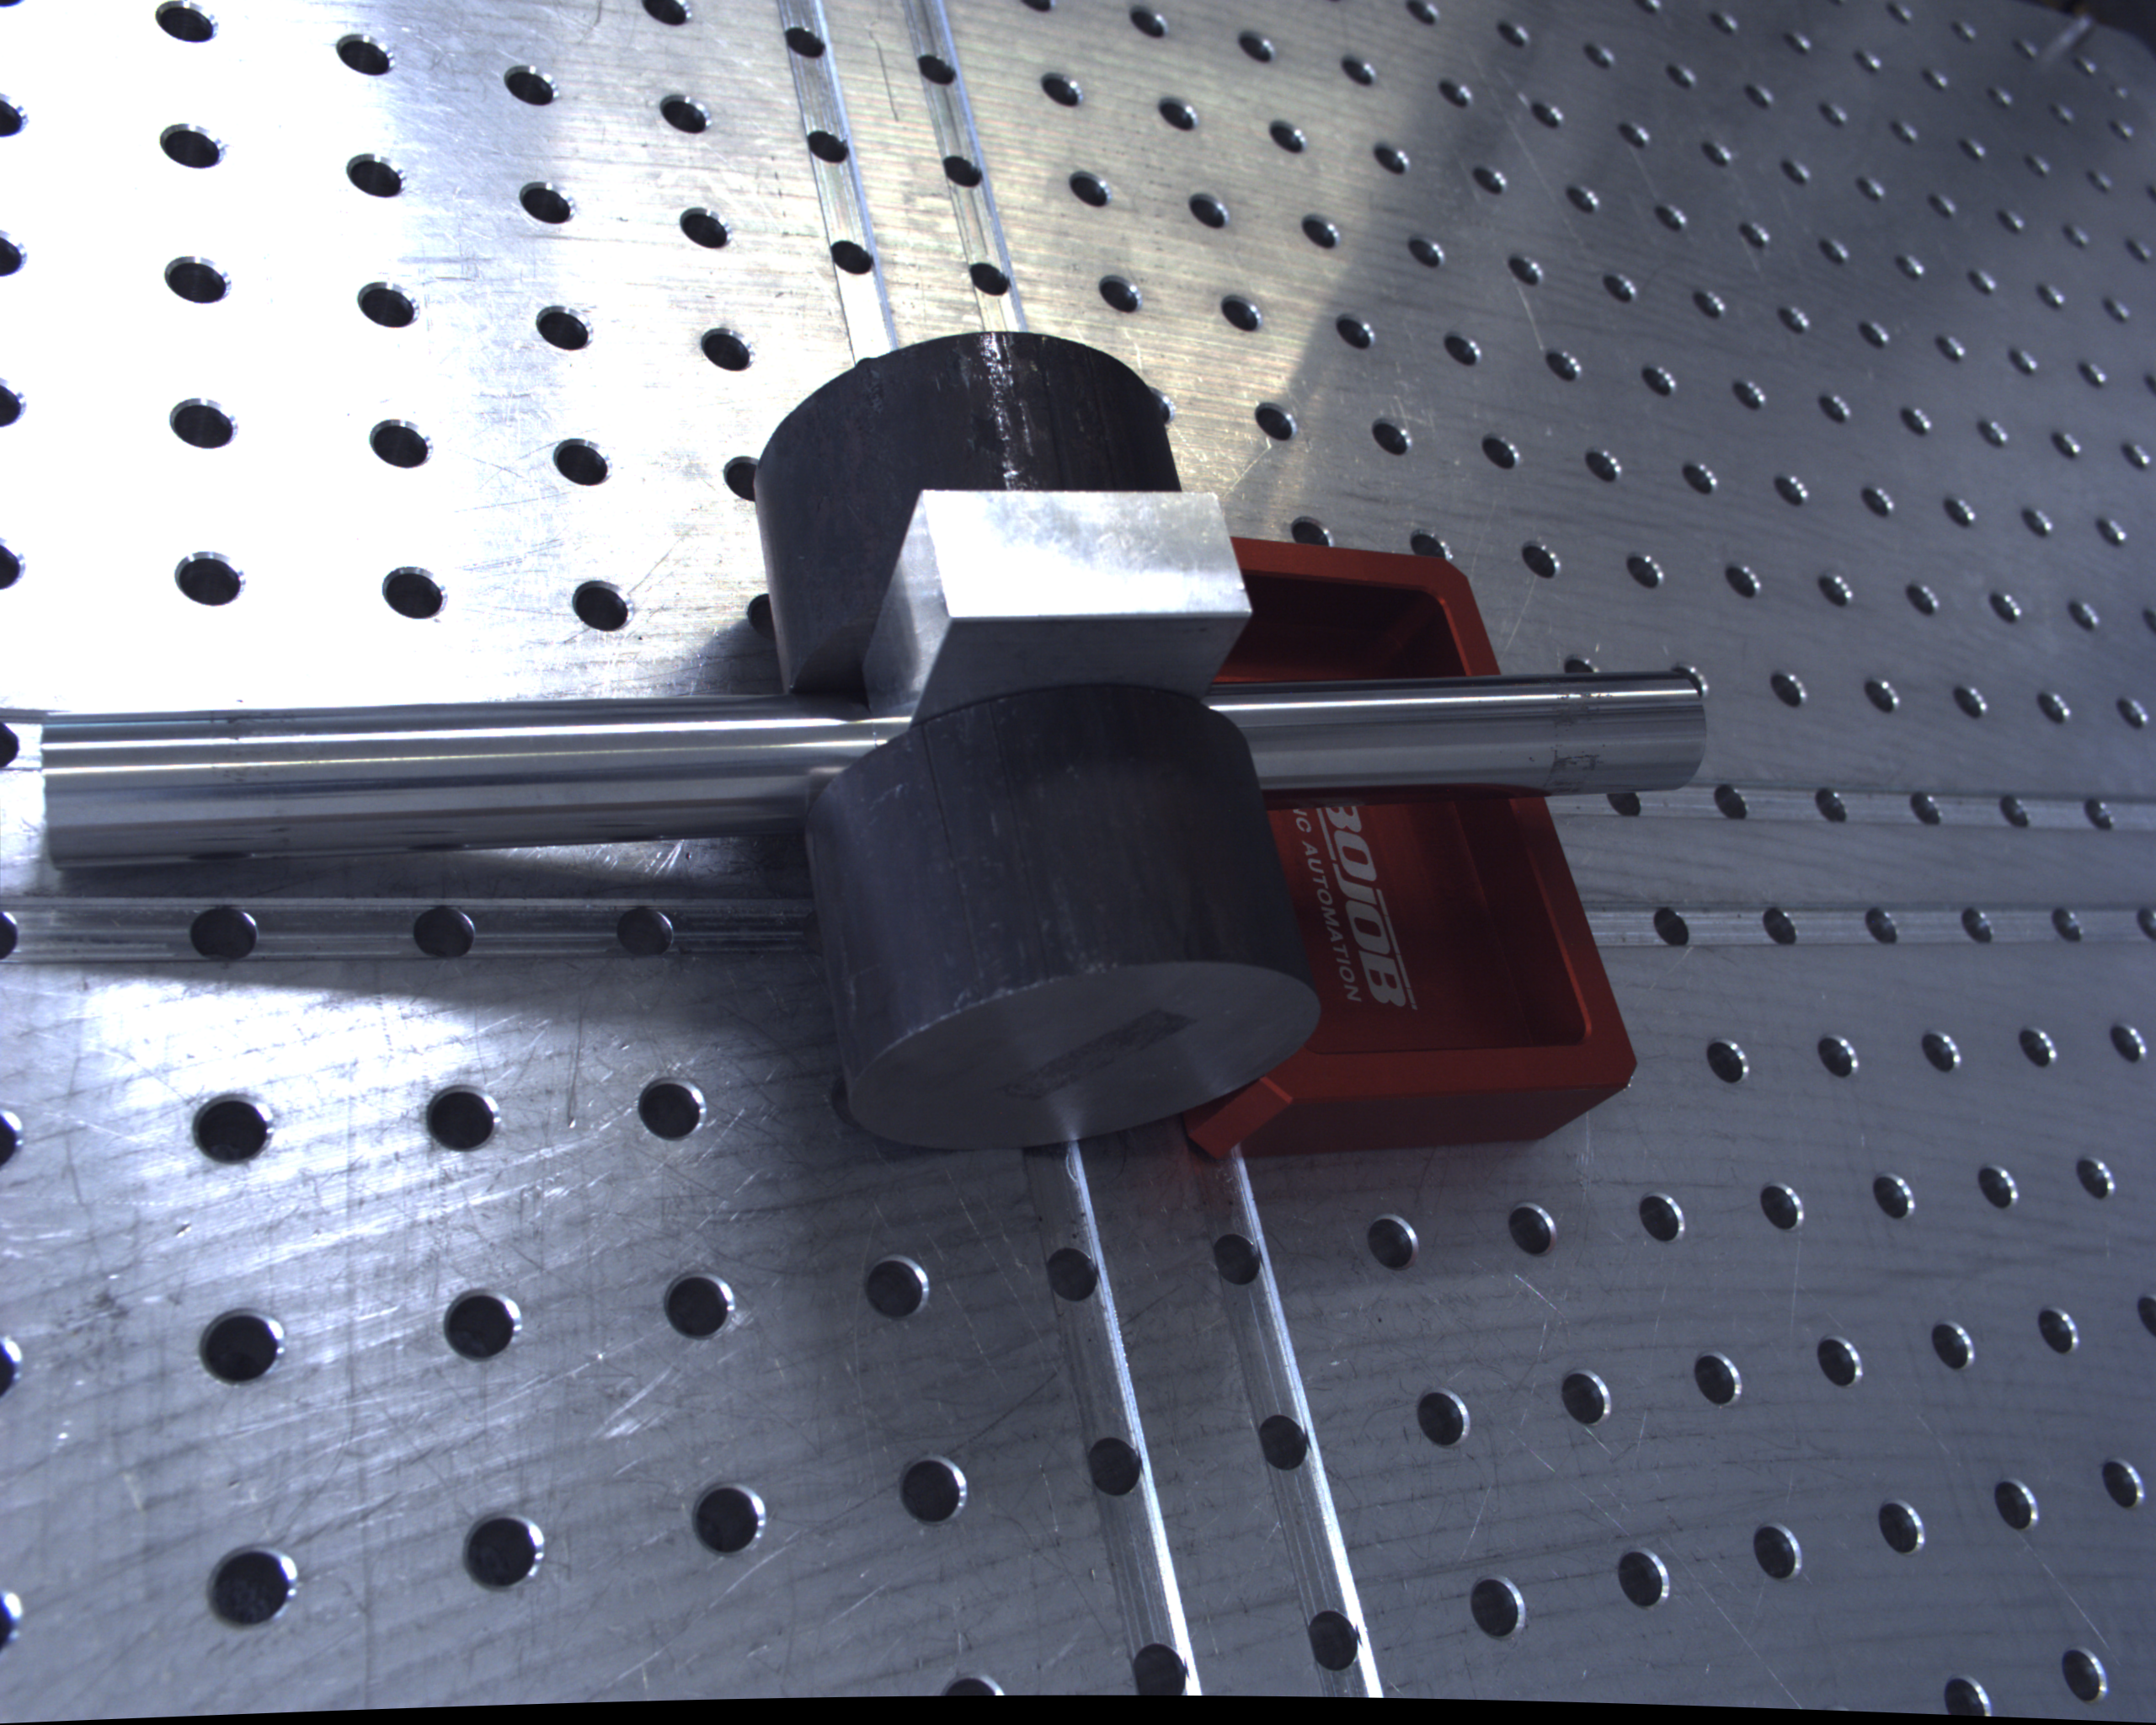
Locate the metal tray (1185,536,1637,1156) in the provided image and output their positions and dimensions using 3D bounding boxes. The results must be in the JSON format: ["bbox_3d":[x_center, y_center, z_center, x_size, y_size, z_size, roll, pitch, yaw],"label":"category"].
[{"bbox_3d":[0.055,-0.006,0.438,0.091,0.030,0.130,1,61,-28],"label":"metal tray"}]

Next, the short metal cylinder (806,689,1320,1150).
[{"bbox_3d":[-0.003,0.012,0.363,0.081,0.080,0.050,1,61,-28],"label":"short metal cylinder"}]

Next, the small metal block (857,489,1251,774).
[{"bbox_3d":[-0.006,-0.037,0.351,0.050,0.050,0.025,-4,63,-21],"label":"small metal block"}]

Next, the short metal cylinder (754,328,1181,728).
[{"bbox_3d":[-0.017,-0.055,0.395,0.081,0.080,0.050,1,62,-28],"label":"short metal cylinder"}]

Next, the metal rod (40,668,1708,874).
[{"bbox_3d":[-0.019,-0.019,0.379,0.303,0.025,0.025,-3,63,-20],"label":"metal rod"}]
